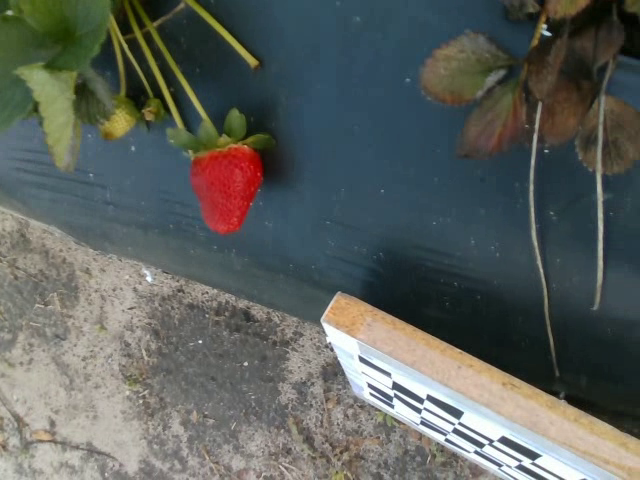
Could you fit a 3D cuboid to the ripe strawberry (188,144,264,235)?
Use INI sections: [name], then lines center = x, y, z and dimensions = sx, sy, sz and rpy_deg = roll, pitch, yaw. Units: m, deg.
[ripe strawberry]
center = -0.050, -0.028, 0.317
dimensions = 0.042, 0.055, 0.045
rpy_deg = 9, -3, -27
